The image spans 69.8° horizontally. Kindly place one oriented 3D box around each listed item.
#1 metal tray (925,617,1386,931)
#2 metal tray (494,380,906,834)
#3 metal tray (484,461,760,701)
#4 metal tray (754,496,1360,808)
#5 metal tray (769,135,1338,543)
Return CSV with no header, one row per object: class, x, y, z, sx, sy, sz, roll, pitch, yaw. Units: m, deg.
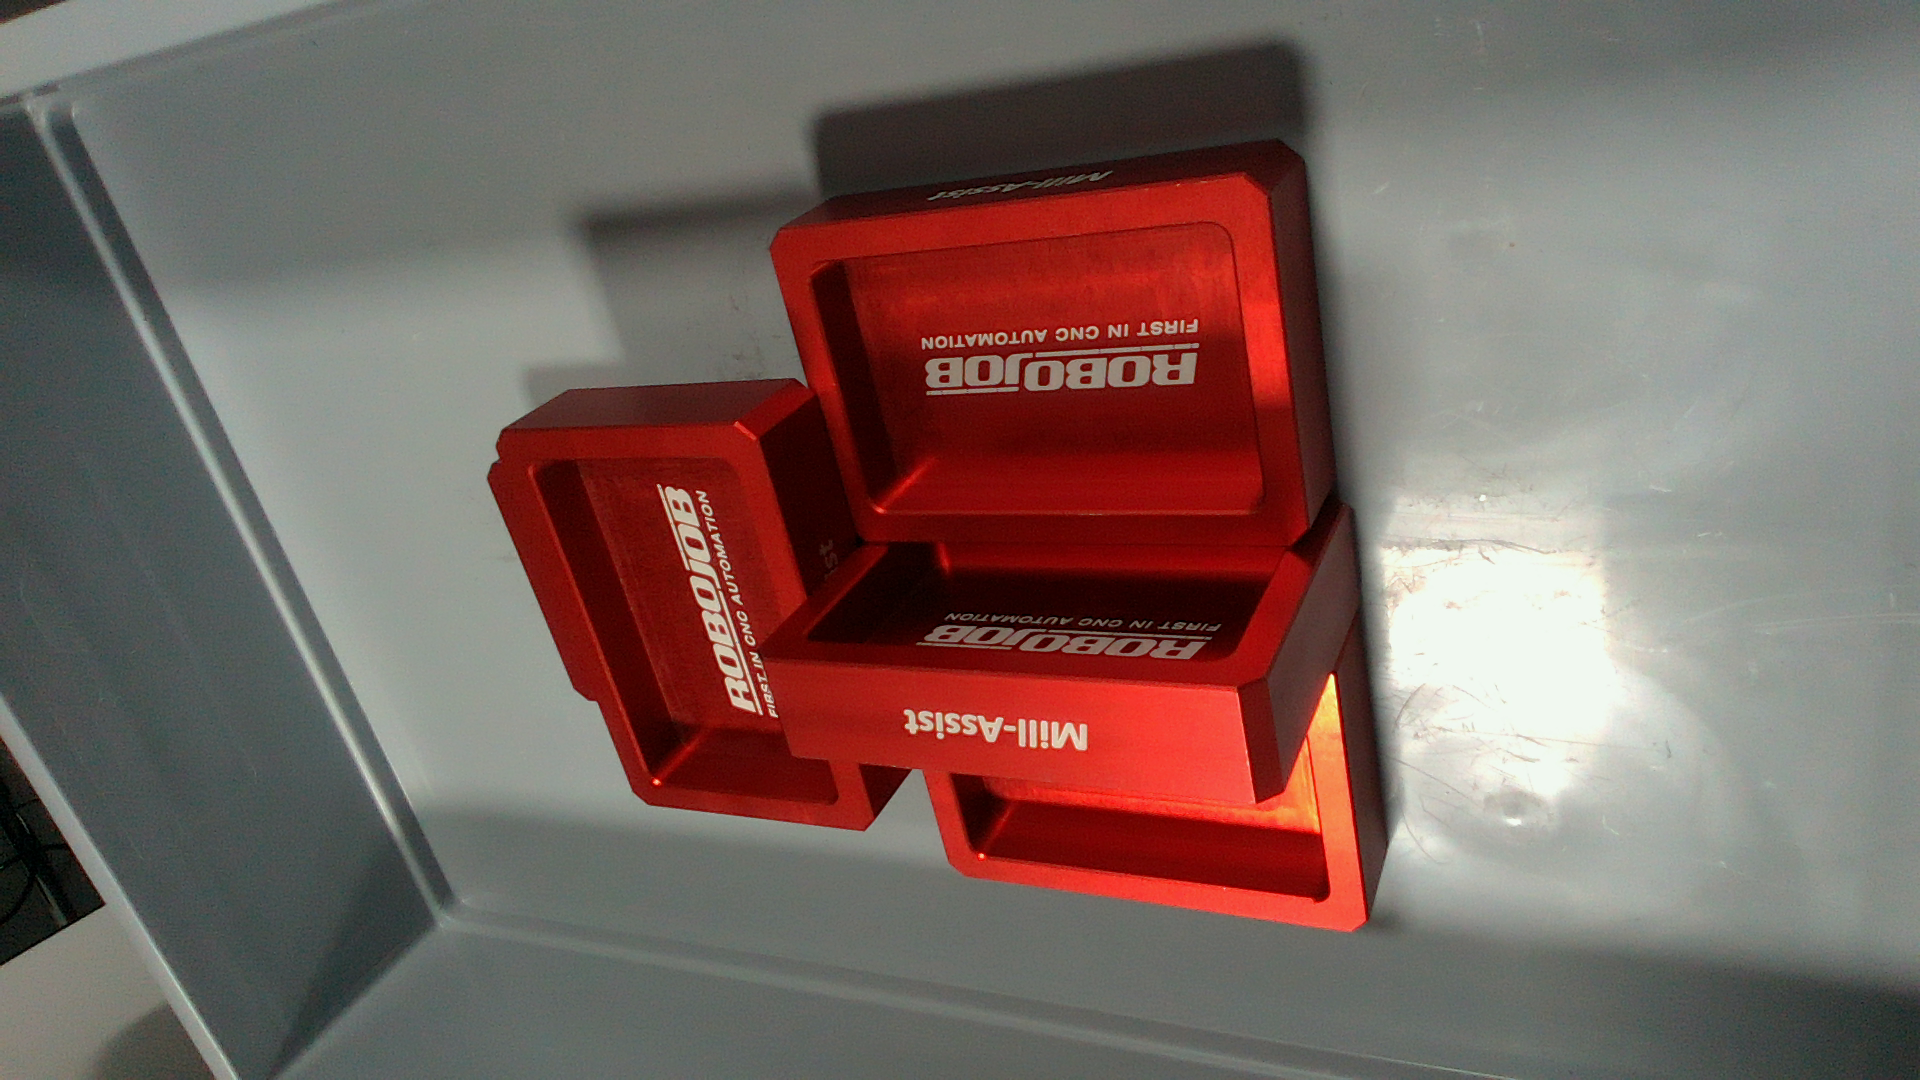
metal tray,0.051,0.061,0.398,0.130,0.030,0.090,1,119,28
metal tray,-0.072,0.021,0.400,0.090,0.030,0.130,1,119,28
metal tray,-0.079,0.009,0.434,0.130,0.030,0.090,0,119,28
metal tray,0.026,0.022,0.348,0.130,0.090,0.030,1,119,28
metal tray,0.023,-0.046,0.348,0.130,0.030,0.090,1,119,28
